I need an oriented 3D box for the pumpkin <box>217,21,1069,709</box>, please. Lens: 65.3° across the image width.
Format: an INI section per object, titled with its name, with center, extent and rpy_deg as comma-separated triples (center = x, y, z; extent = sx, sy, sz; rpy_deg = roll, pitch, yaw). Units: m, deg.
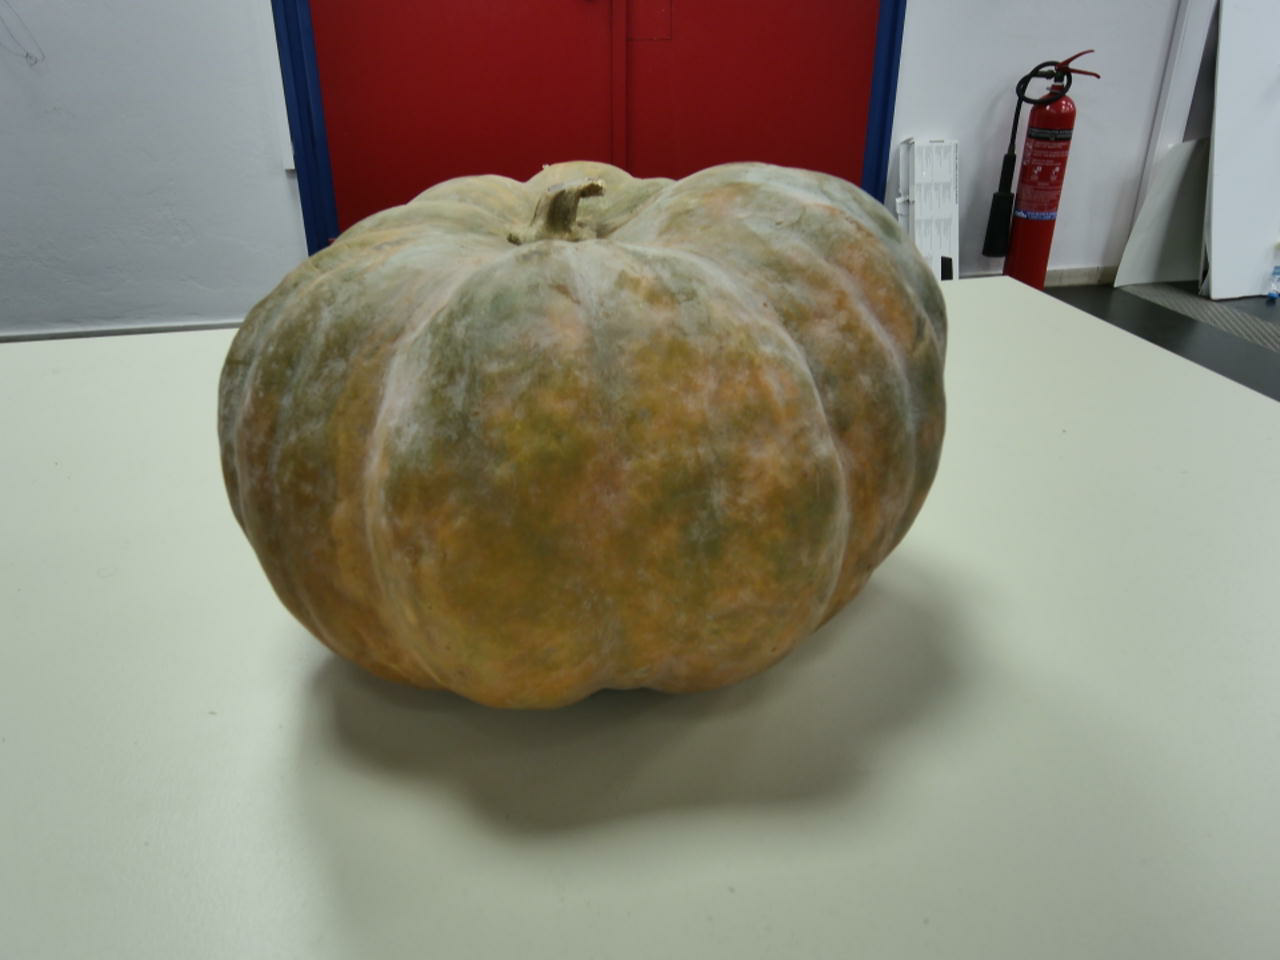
[pumpkin]
center = -0.022, -0.025, 0.360
extent = 0.252, 0.169, 0.251
rpy_deg = 0, 25, 0
